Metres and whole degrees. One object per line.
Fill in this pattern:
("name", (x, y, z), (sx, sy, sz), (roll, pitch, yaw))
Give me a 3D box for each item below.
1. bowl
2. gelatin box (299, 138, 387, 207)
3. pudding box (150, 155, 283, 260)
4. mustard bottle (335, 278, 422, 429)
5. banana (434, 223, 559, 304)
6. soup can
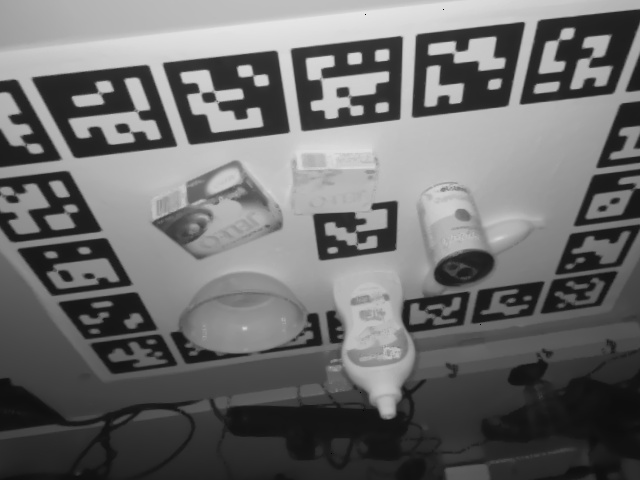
("bowl", (-0.103, 0.087, 0.896), (0.162, 0.055, 0.160), (-7, 142, -4))
("gelatin box", (0.023, -0.071, 0.739), (0.090, 0.030, 0.072), (-3, 138, -7))
("pudding box", (-0.110, -0.034, 0.753), (0.113, 0.039, 0.090), (-23, 134, 17))
("mustard bottle", (0.075, 0.141, 0.864), (0.096, 0.192, 0.058), (-6, 144, -1))
("banana", (0.210, 0.030, 0.892), (0.075, 0.039, 0.194), (14, 137, -40))
("soup can", (0.165, -0.003, 0.778), (0.068, 0.102, 0.067), (-4, 143, -2))
